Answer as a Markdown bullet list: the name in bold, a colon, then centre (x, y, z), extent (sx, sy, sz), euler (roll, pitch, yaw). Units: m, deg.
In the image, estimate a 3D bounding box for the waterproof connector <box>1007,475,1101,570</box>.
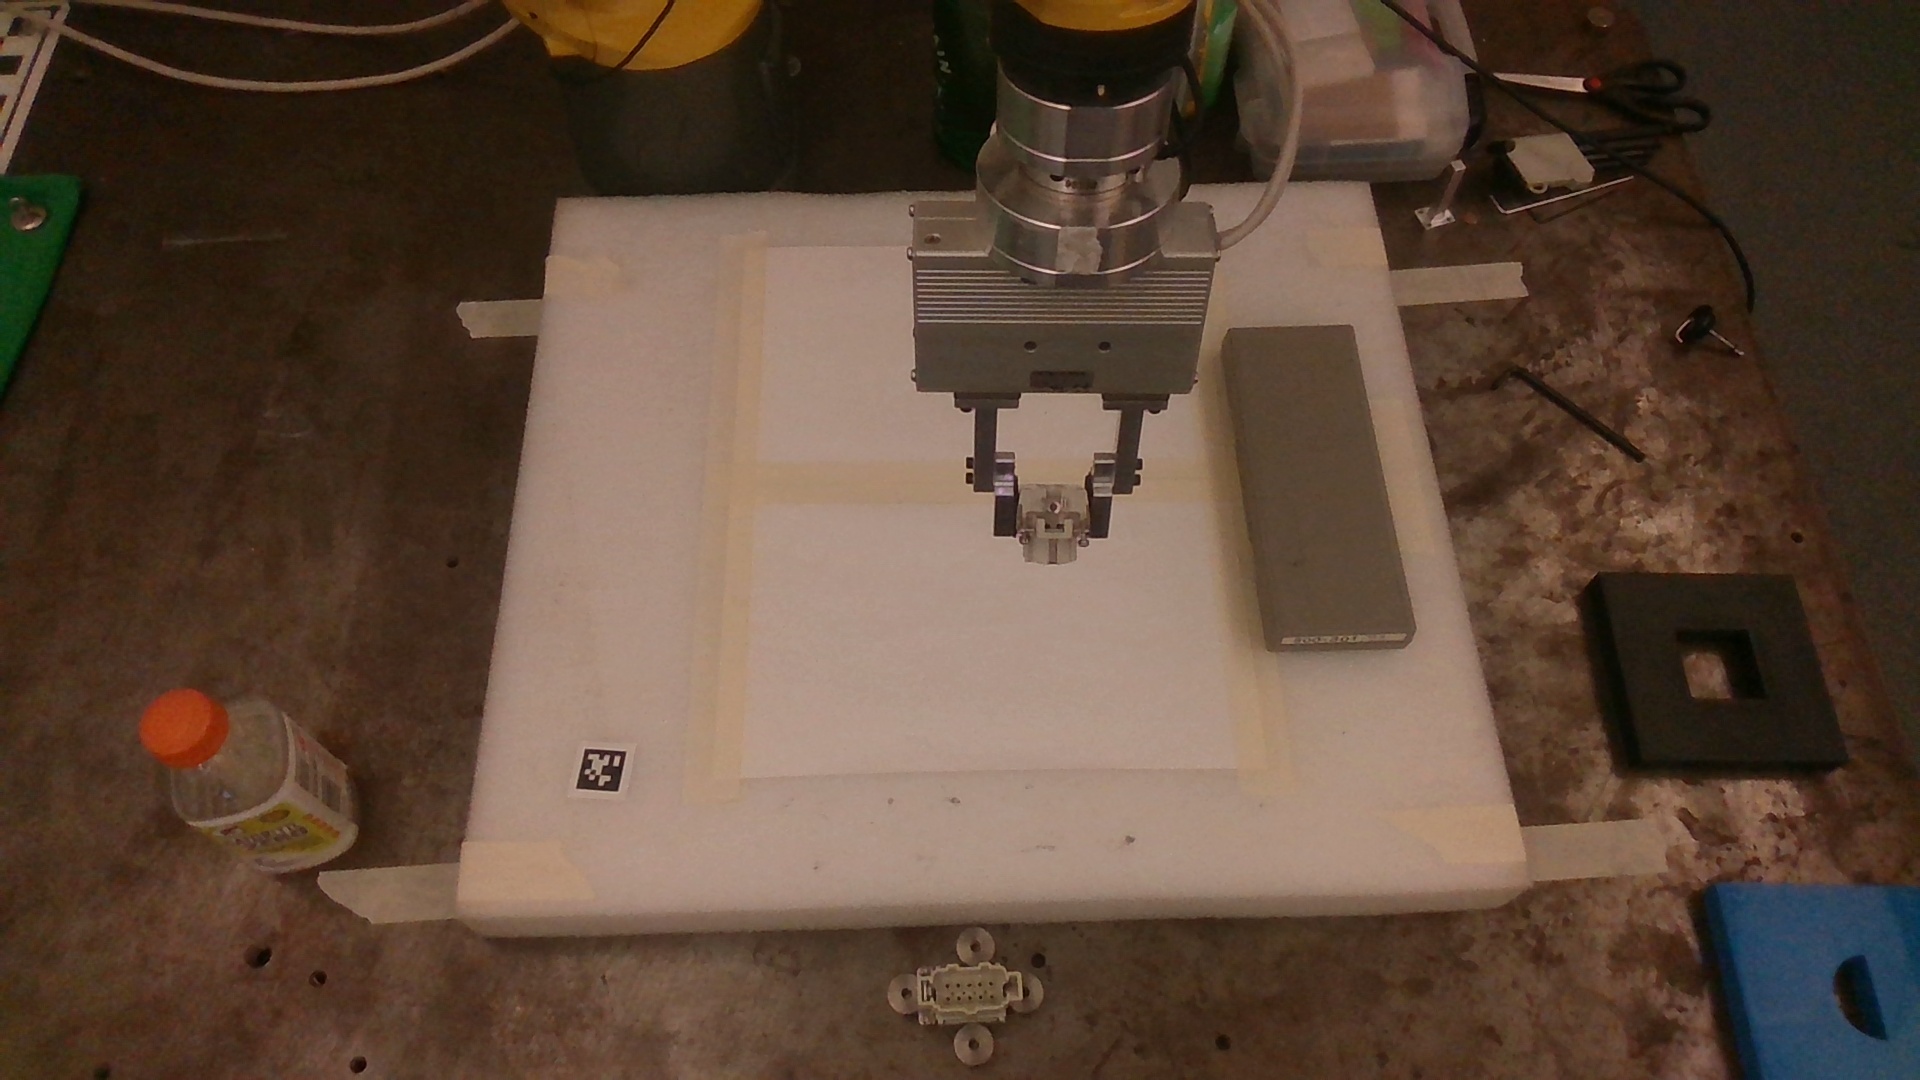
- **waterproof connector**: centre (0.043, -0.009, 0.650), extent (0.037, 0.069, 0.038), euler (-1, 99, -4)
